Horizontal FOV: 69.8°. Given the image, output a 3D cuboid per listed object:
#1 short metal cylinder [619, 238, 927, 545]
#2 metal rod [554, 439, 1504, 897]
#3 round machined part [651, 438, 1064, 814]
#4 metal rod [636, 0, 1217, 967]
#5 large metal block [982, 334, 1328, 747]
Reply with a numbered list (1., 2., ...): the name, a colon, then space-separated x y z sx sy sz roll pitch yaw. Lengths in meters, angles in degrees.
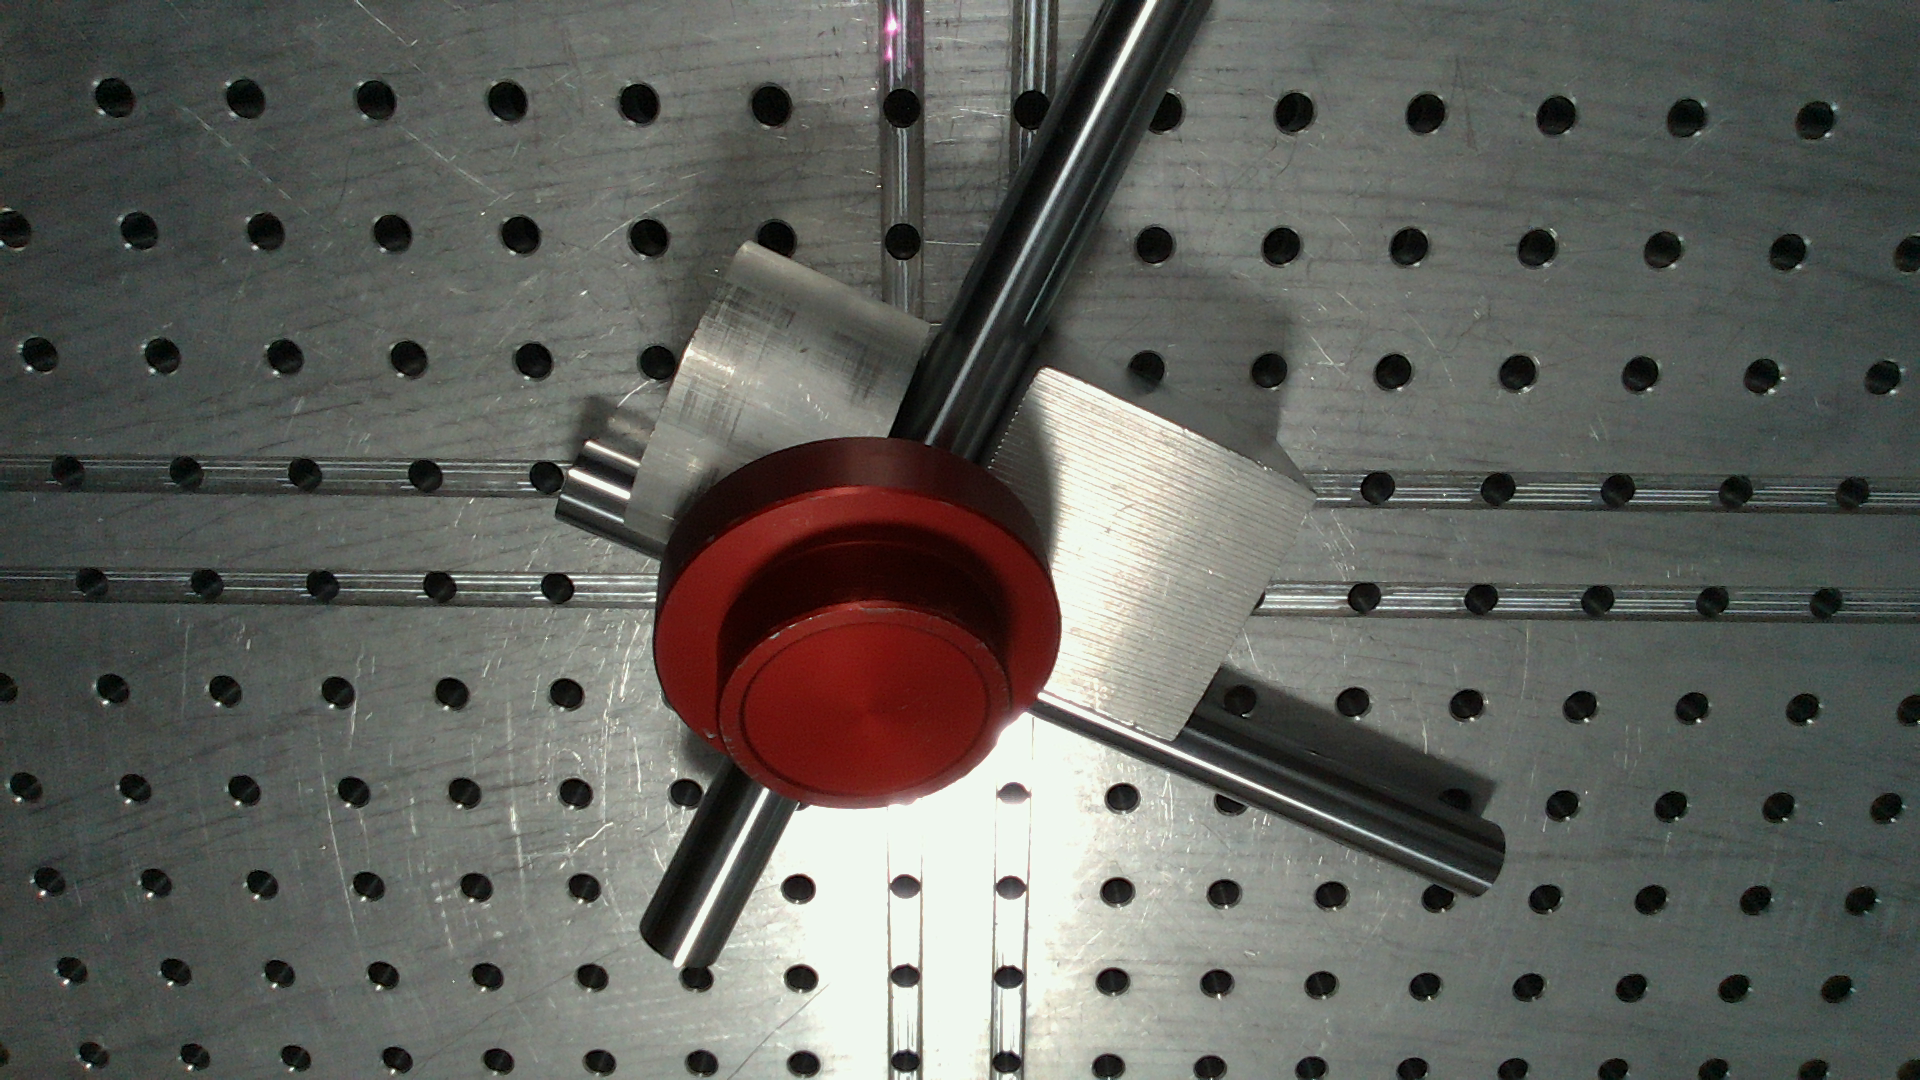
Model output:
1. short metal cylinder: -0.048 -0.030 0.355 0.050 0.080 0.080 23 109 -8
2. metal rod: 0.027 0.042 0.411 0.300 0.025 0.025 23 109 -9
3. round machined part: -0.024 0.027 0.328 0.098 0.042 0.098 -4 130 -5
4. metal rod: -0.013 -0.015 0.370 0.025 0.025 0.300 26 101 -9
5. large metal block: 0.040 -0.002 0.379 0.080 0.050 0.080 24 108 -9
